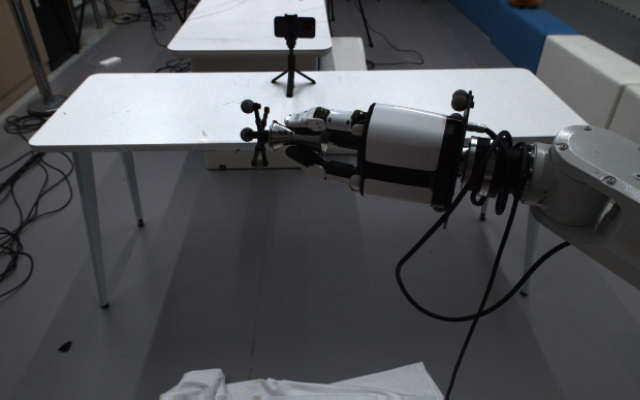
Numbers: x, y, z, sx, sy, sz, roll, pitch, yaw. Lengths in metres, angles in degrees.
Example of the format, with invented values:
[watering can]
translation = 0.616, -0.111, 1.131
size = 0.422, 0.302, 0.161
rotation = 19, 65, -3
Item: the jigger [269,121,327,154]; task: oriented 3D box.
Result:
[jigger]
translation = -0.019, -0.083, 0.612
size = 0.071, 0.043, 0.043
rotation = 3, 34, 13
